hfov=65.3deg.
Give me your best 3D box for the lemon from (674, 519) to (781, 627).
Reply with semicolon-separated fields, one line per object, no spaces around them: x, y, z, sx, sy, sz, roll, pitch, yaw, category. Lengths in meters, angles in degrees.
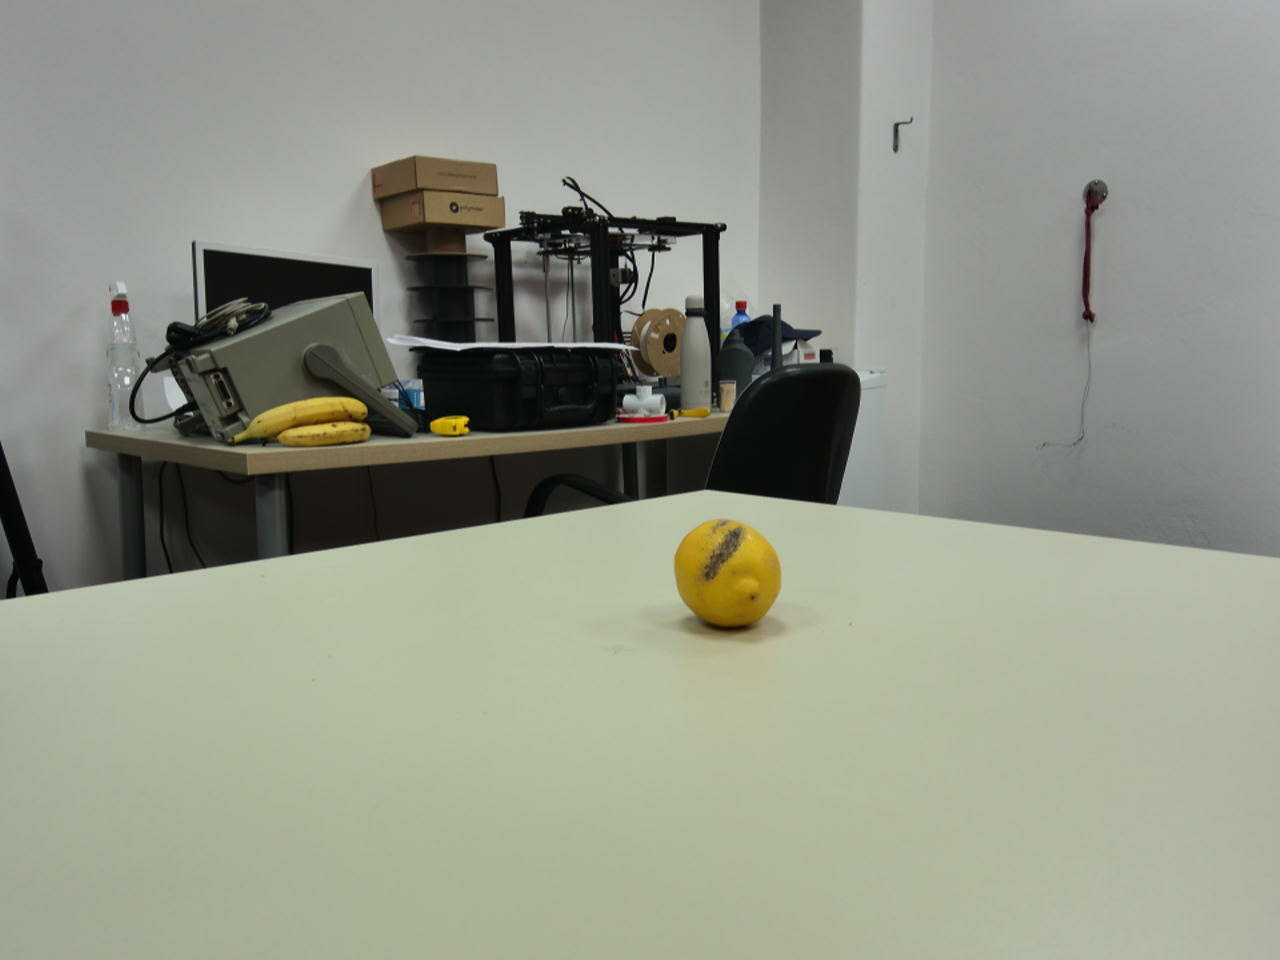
0.048;0.050;0.543;0.061;0.056;0.058;5;7;39;lemon
